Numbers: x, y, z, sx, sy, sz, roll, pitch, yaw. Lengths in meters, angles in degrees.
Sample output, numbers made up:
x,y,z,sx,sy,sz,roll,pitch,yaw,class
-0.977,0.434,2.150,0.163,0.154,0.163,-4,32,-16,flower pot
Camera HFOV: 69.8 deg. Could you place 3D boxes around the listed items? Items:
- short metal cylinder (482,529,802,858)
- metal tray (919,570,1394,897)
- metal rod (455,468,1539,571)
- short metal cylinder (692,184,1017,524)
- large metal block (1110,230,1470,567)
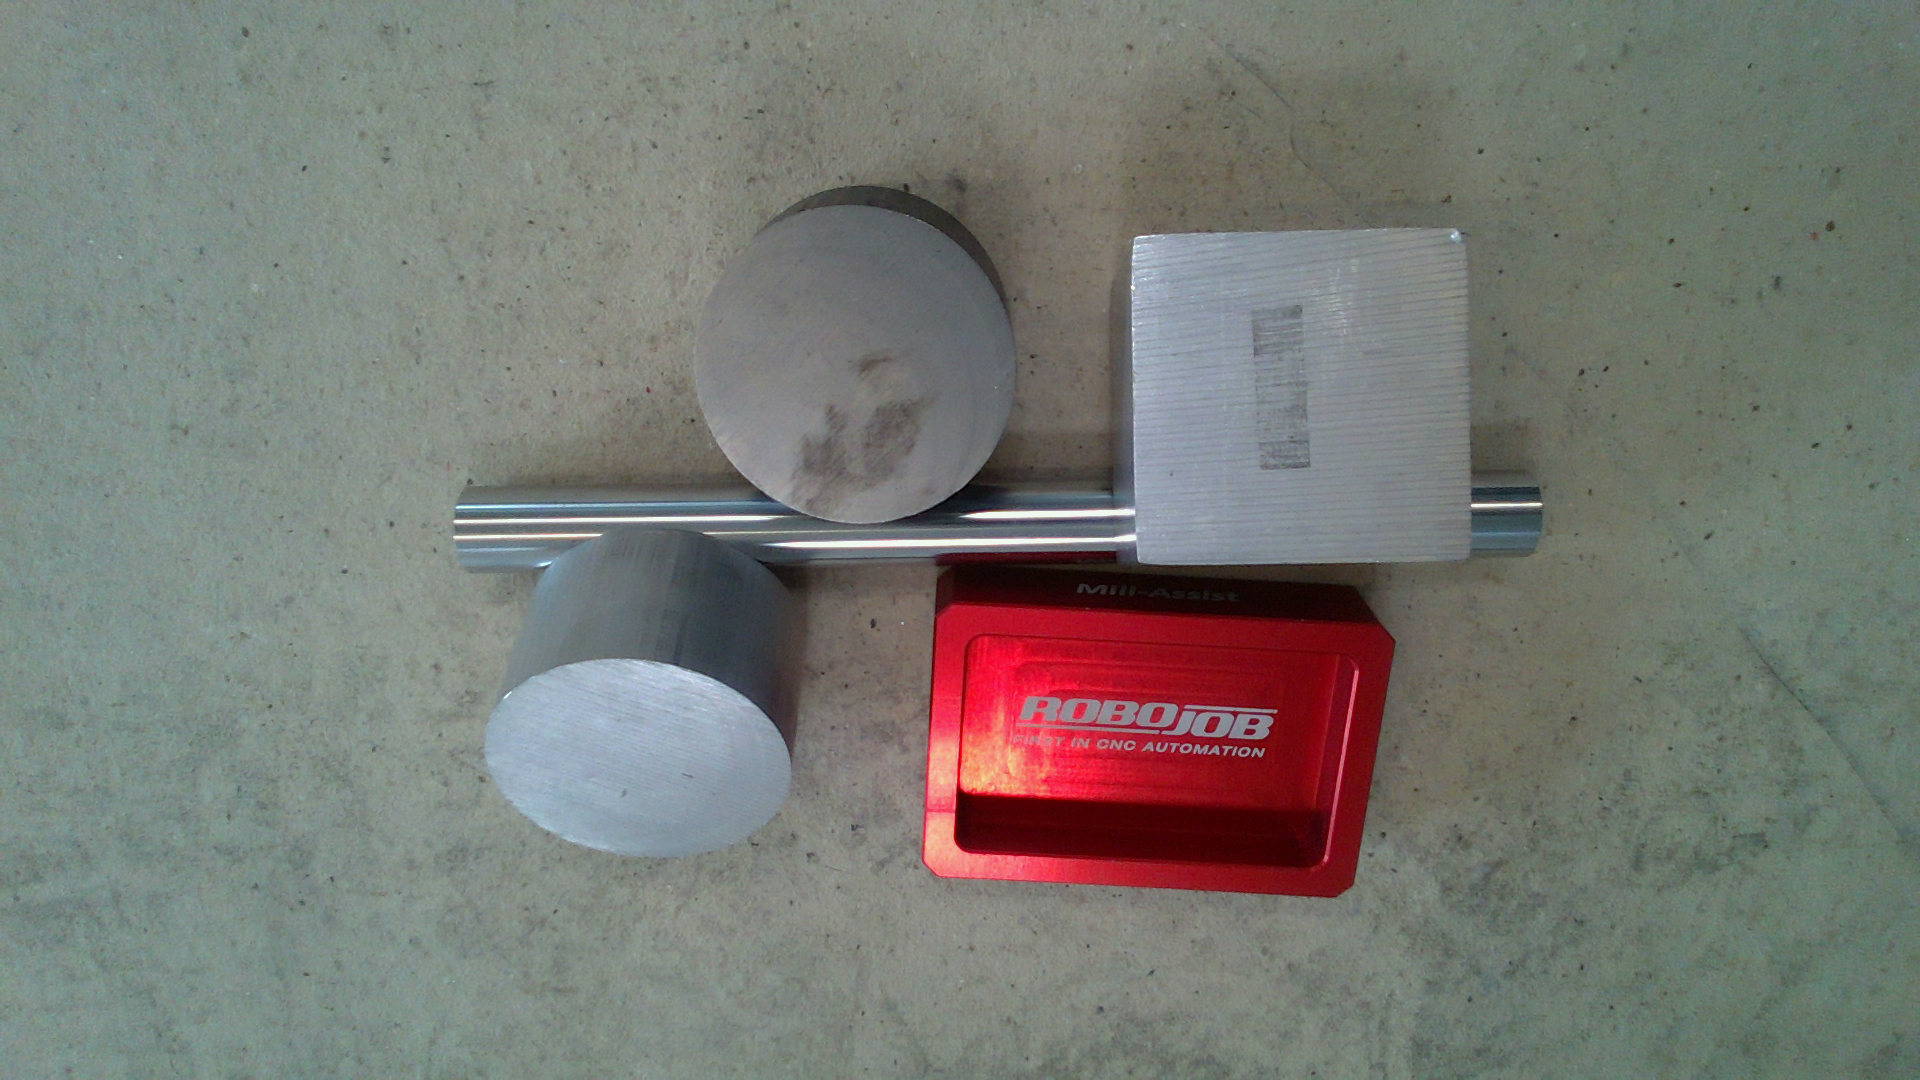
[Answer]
x,y,z,sx,sy,sz,roll,pitch,yaw,class
-0.086,0.044,0.383,0.080,0.050,0.080,-1,131,-1,short metal cylinder
0.055,0.058,0.412,0.130,0.030,0.090,3,110,-1,metal tray
0.010,-0.006,0.393,0.300,0.025,0.025,-1,110,0,metal rod
-0.026,-0.050,0.362,0.080,0.050,0.080,0,110,0,short metal cylinder
0.082,-0.034,0.355,0.080,0.050,0.080,-1,89,0,large metal block
